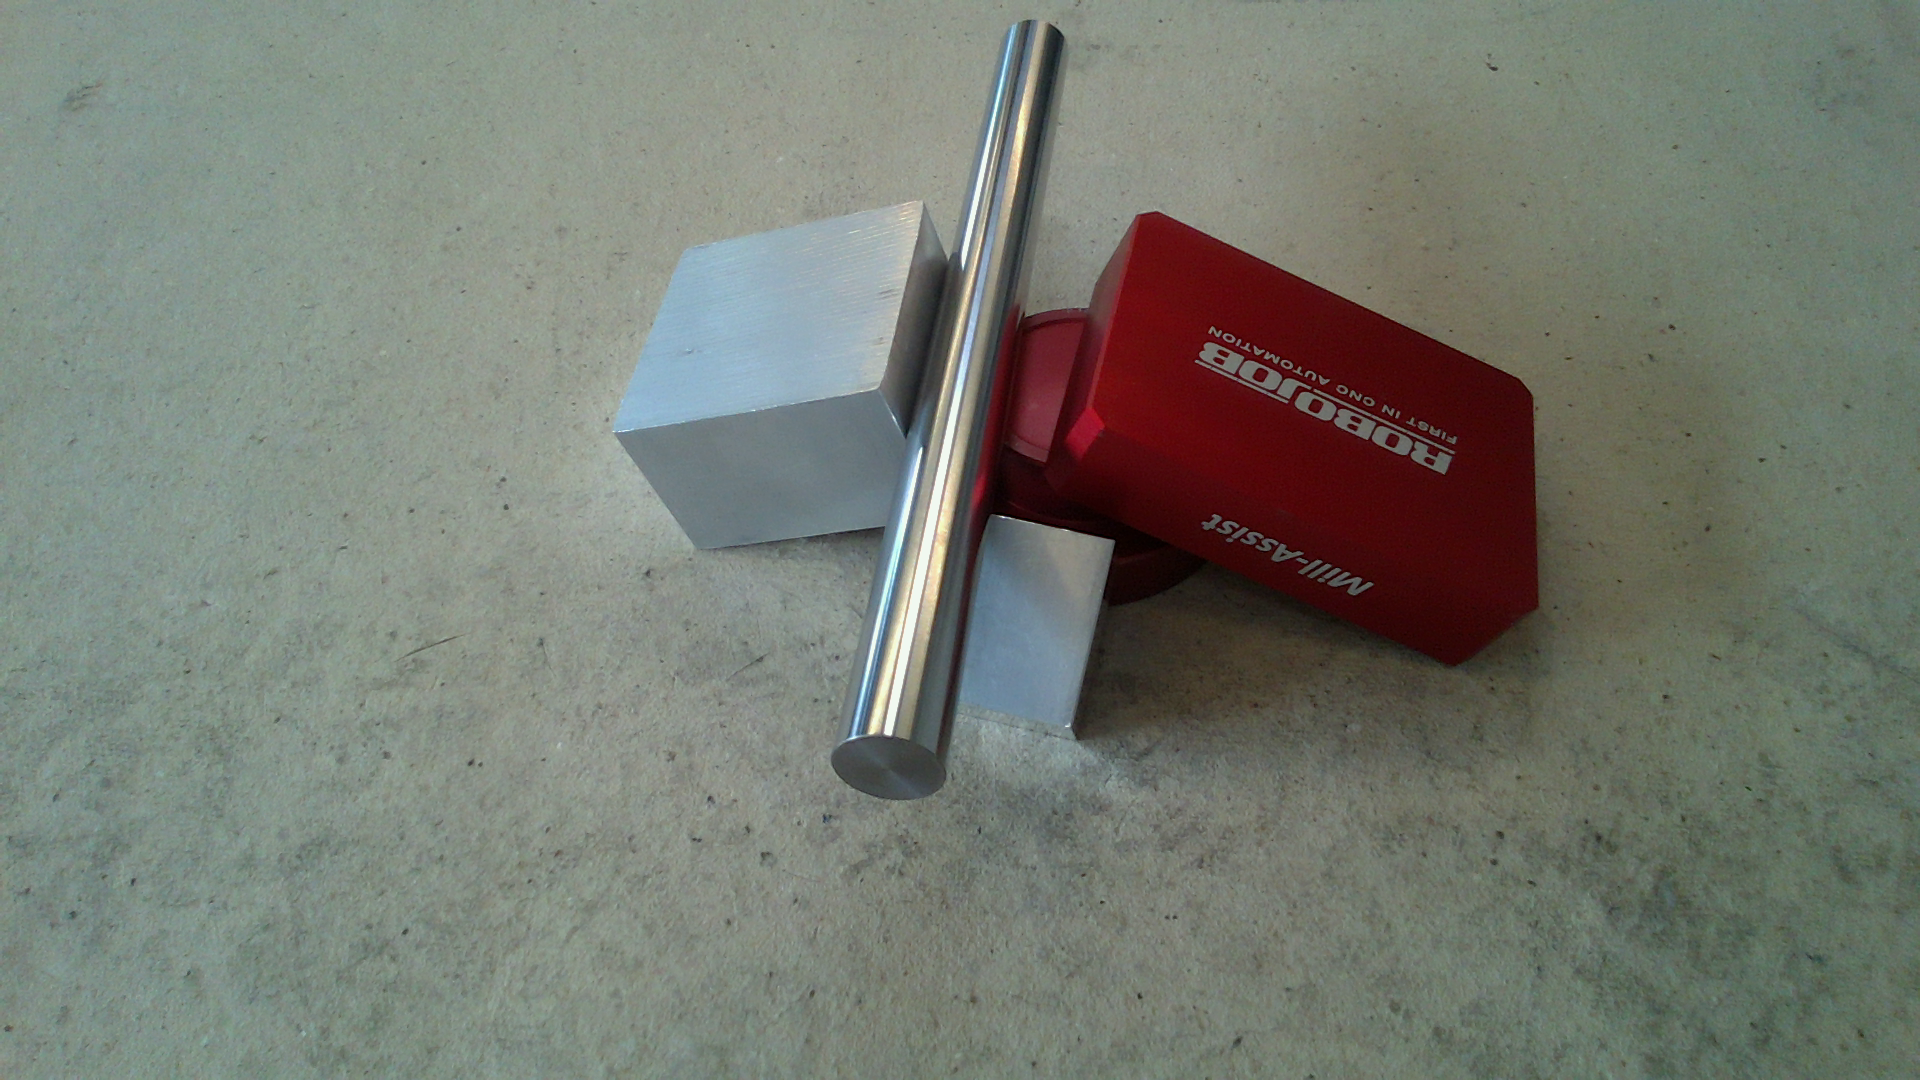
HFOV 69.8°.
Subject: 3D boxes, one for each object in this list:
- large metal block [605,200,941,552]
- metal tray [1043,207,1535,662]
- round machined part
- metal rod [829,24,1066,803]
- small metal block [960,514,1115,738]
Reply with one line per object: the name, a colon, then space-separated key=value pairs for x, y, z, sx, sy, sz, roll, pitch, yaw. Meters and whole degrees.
large metal block: x=-0.045 y=-0.047 z=0.401 sx=0.080 sy=0.050 sz=0.080 roll=-7 pitch=48 yaw=18
metal tray: x=0.095 y=-0.031 z=0.386 sx=0.130 sy=0.030 sz=0.090 roll=23 pitch=52 yaw=-7
round machined part: x=0.036 y=-0.031 z=0.407 sx=0.098 sy=0.042 sz=0.098 roll=0 pitch=50 yaw=0
metal rod: x=0.005 y=-0.062 z=0.389 sx=0.025 sy=0.025 sz=0.300 roll=6 pitch=48 yaw=5
small metal block: x=0.011 y=0.021 z=0.361 sx=0.050 sy=0.025 sz=0.050 roll=12 pitch=76 yaw=11
